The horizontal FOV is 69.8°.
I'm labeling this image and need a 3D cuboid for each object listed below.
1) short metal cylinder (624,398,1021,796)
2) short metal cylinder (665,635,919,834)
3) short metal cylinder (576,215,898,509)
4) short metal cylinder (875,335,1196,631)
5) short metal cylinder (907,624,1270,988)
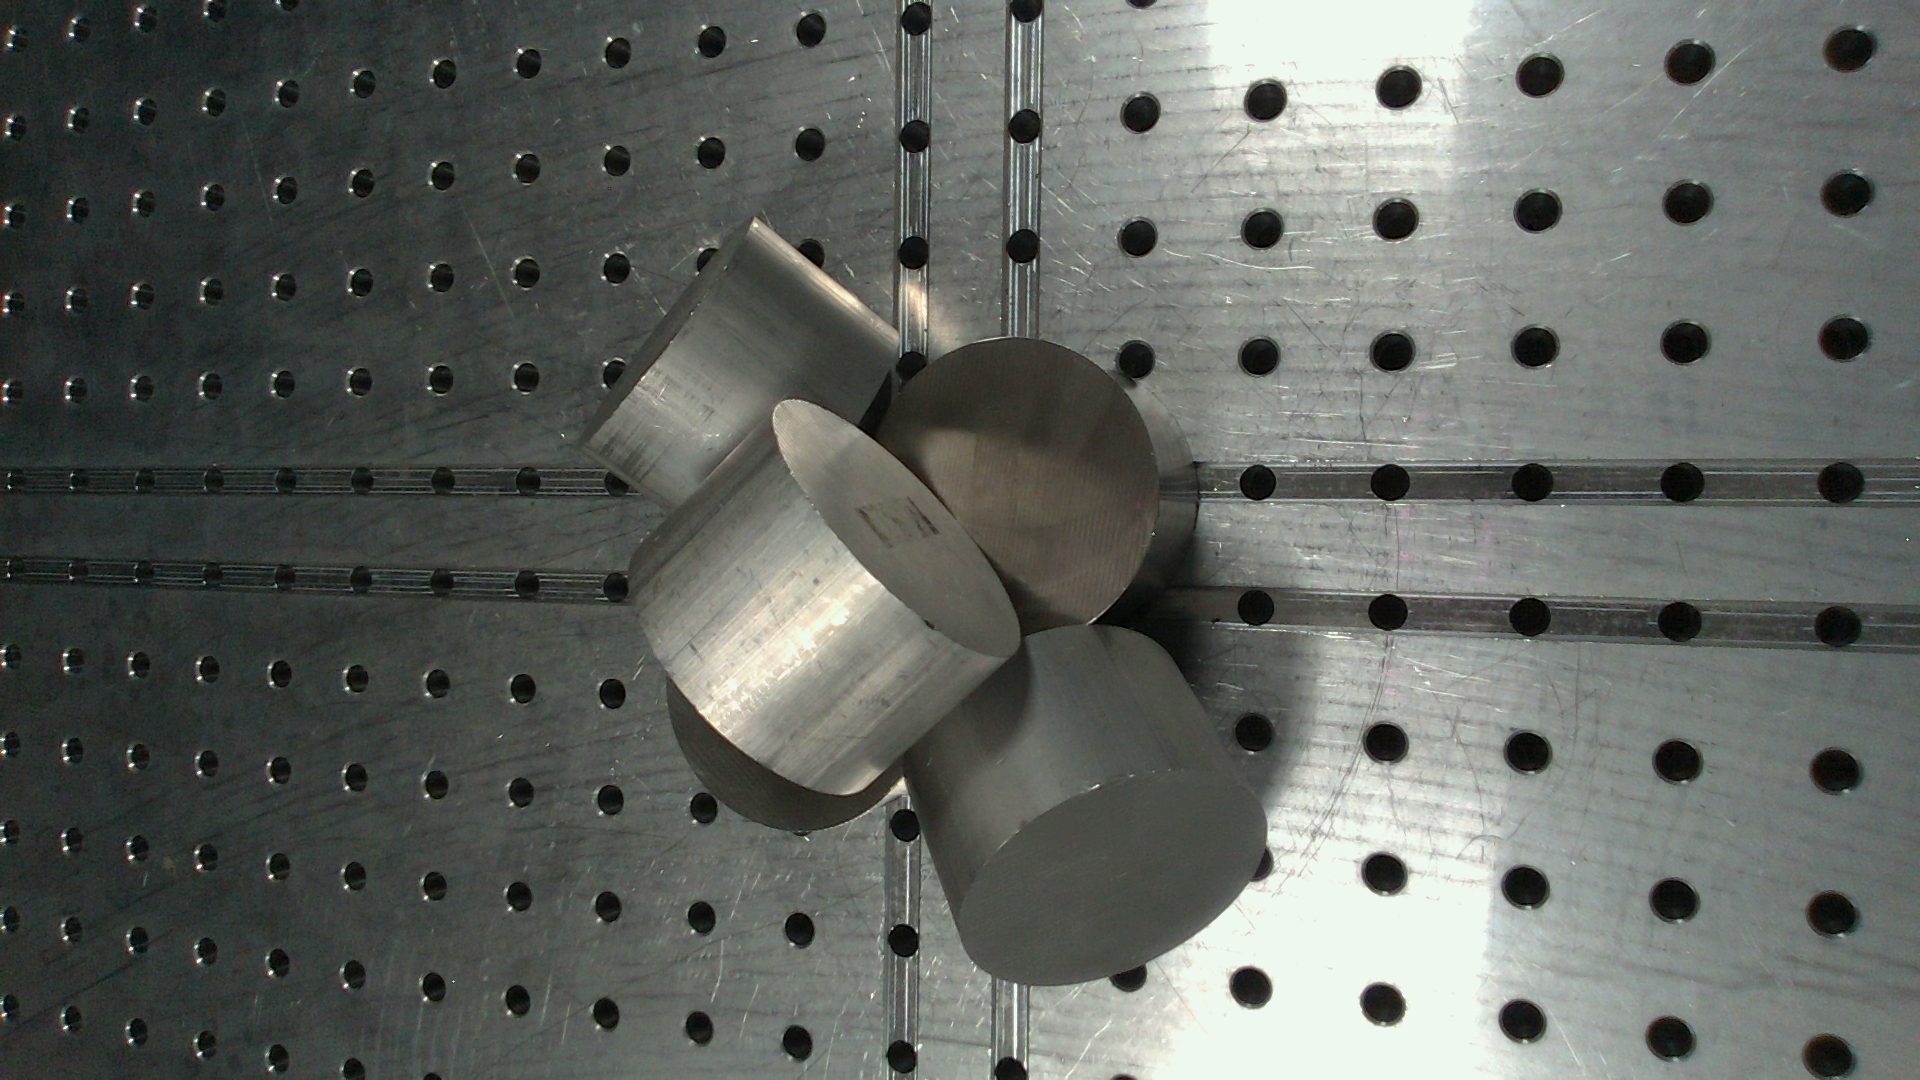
[{"bbox_3d":[-0.031,0.013,0.326,0.050,0.080,0.080,-43,77,15],"label":"short metal cylinder"},{"bbox_3d":[-0.037,0.040,0.398,0.080,0.050,0.080,0,90,20],"label":"short metal cylinder"},{"bbox_3d":[-0.062,-0.043,0.384,0.050,0.080,0.080,37,105,-19],"label":"short metal cylinder"},{"bbox_3d":[0.021,-0.013,0.377,0.080,0.050,0.080,0,90,20],"label":"short metal cylinder"},{"bbox_3d":[0.031,0.068,0.350,0.080,0.080,0.050,-43,41,15],"label":"short metal cylinder"}]
